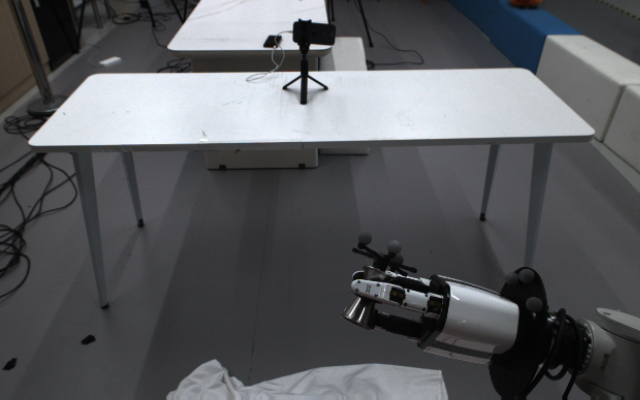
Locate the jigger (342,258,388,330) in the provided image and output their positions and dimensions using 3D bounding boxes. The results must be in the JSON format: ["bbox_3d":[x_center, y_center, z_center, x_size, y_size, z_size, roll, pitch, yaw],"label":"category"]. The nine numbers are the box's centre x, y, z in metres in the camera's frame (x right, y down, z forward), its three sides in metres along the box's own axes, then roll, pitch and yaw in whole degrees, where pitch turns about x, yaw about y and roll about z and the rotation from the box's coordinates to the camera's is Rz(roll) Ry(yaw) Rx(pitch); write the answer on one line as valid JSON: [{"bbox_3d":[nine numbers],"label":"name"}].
[{"bbox_3d":[0.058,0.116,0.589,0.043,0.043,0.071,19,72,23],"label":"jigger"}]
